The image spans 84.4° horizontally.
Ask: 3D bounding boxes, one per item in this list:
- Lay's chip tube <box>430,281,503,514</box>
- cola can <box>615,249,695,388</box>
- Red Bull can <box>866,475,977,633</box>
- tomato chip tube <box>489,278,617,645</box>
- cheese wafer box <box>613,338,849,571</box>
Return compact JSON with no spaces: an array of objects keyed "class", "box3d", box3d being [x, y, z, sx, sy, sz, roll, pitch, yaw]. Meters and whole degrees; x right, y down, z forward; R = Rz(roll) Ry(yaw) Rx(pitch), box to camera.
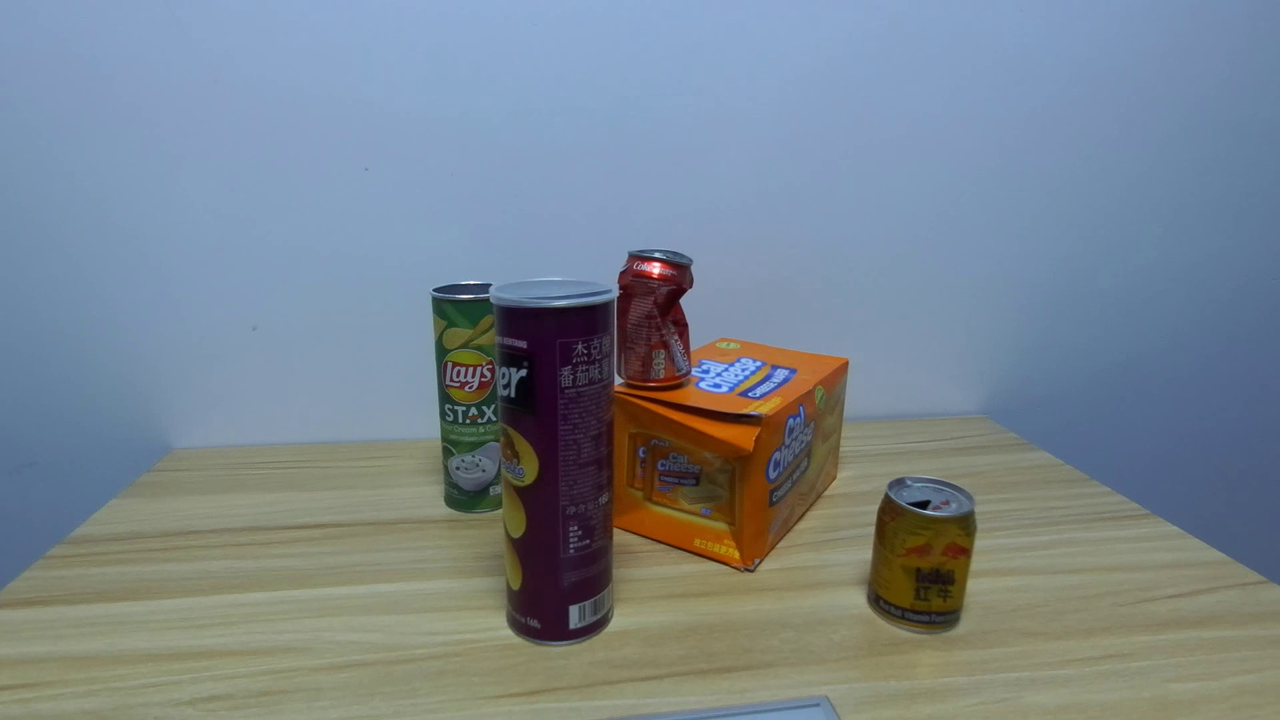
[{"class":"Lay's chip tube","box3d":[-0.153,0.033,0.659,0.071,0.202,0.071,2,18,0]},{"class":"cola can","box3d":[0.012,-0.035,0.593,0.069,0.112,0.065,-12,19,-36]},{"class":"Red Bull can","box3d":[0.201,0.138,0.506,0.069,0.092,0.069,2,15,0]},{"class":"tomato chip tube","box3d":[-0.054,0.069,0.472,0.078,0.234,0.078,1,16,0]},{"class":"cheese wafer box","box3d":[0.086,0.069,0.655,0.149,0.137,0.228,12,19,30]}]
